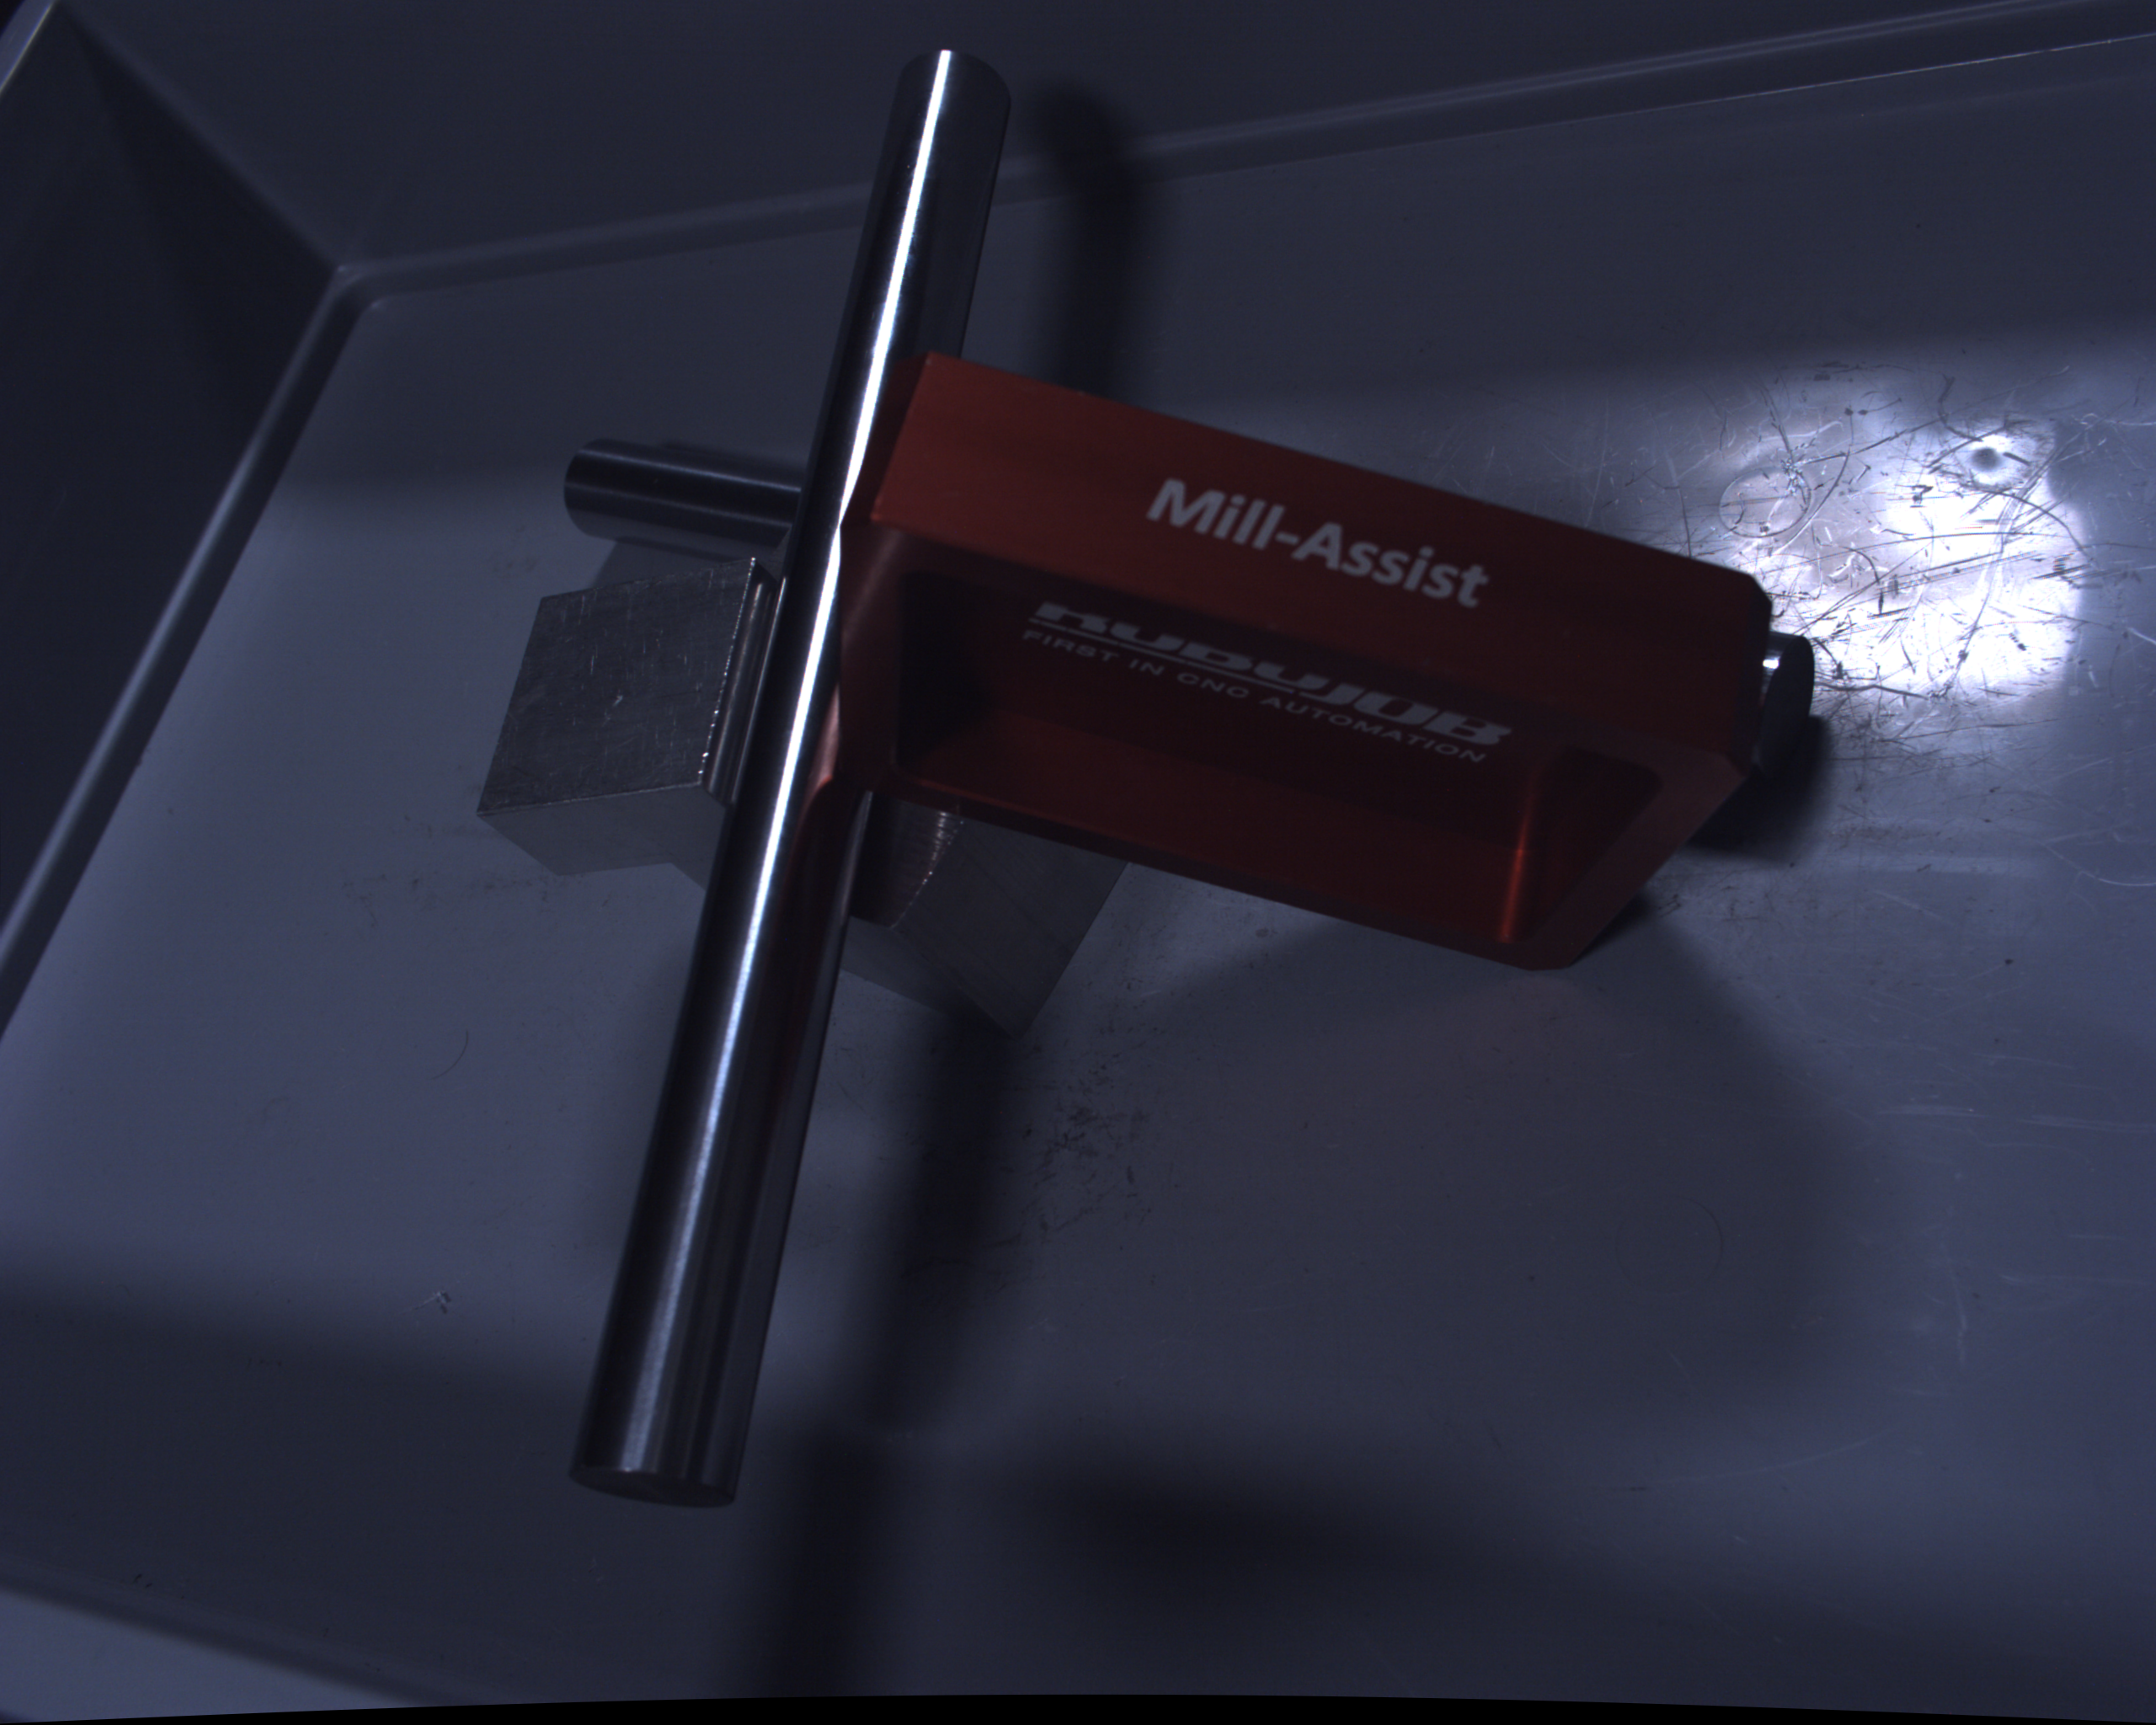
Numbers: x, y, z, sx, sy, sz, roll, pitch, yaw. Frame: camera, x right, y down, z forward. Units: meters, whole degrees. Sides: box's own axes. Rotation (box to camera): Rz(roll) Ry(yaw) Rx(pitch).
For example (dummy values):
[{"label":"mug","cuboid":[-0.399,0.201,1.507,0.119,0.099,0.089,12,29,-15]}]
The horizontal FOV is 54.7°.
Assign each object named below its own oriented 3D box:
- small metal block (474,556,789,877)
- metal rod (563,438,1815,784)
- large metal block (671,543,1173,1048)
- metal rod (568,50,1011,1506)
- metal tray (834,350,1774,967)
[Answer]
[{"label":"small metal block","cuboid":[-0.081,-0.027,0.397,0.050,0.025,0.050,-6,59,24]},{"label":"metal rod","cuboid":[0.001,-0.060,0.439,0.300,0.025,0.025,16,70,34]},{"label":"large metal block","cuboid":[-0.033,-0.020,0.416,0.080,0.050,0.080,20,72,35]},{"label":"metal rod","cuboid":[-0.046,-0.036,0.385,0.025,0.025,0.299,-6,59,25]},{"label":"metal tray","cuboid":[0.029,-0.027,0.329,0.131,0.090,0.030,15,67,0]}]
